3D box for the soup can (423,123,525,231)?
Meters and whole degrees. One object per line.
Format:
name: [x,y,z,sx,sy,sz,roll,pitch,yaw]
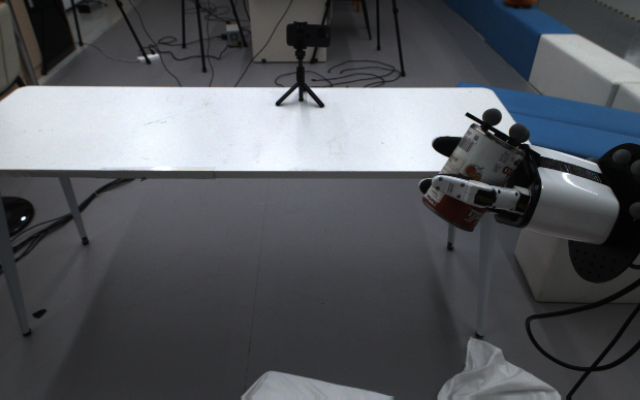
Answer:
soup can: [0.171,-0.025,0.539,0.067,0.101,0.067,27,18,-9]
